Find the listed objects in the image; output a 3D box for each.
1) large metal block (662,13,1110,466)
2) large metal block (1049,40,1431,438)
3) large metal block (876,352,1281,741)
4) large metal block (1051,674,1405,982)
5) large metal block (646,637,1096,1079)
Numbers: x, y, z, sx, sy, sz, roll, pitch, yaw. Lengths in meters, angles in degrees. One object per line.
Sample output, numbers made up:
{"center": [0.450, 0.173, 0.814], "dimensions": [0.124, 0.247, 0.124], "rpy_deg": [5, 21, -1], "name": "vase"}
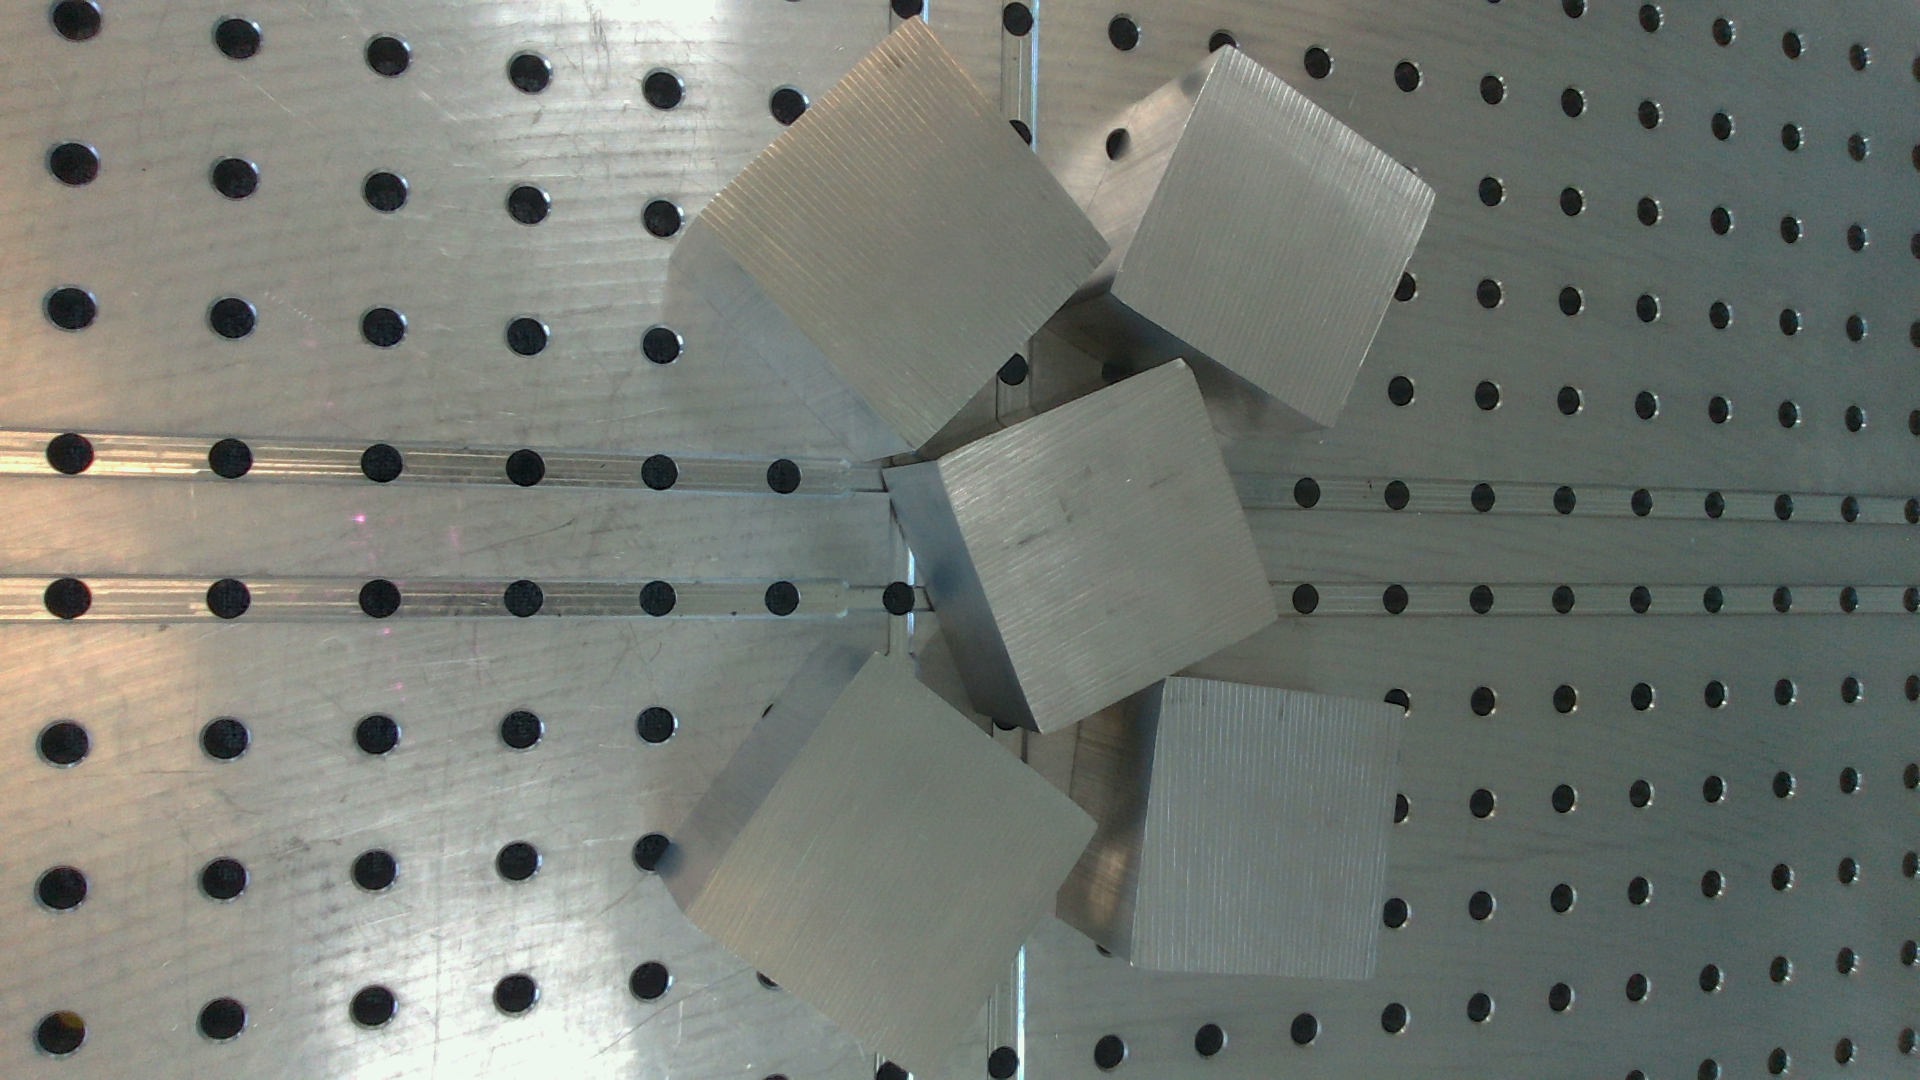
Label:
{"center": [-0.021, -0.078, 0.374], "dimensions": [0.080, 0.050, 0.080], "rpy_deg": [-46, 104, -14], "name": "large metal block"}
{"center": [0.081, -0.085, 0.411], "dimensions": [0.080, 0.050, 0.080], "rpy_deg": [28, 81, -21], "name": "large metal block"}
{"center": [0.033, 0.001, 0.394], "dimensions": [0.080, 0.050, 0.080], "rpy_deg": [-24, 98, -18], "name": "large metal block"}
{"center": [0.079, 0.083, 0.411], "dimensions": [0.080, 0.050, 0.080], "rpy_deg": [10, 87, -20], "name": "large metal block"}
{"center": [-0.025, 0.083, 0.372], "dimensions": [0.080, 0.050, 0.080], "rpy_deg": [39, 77, -15], "name": "large metal block"}
